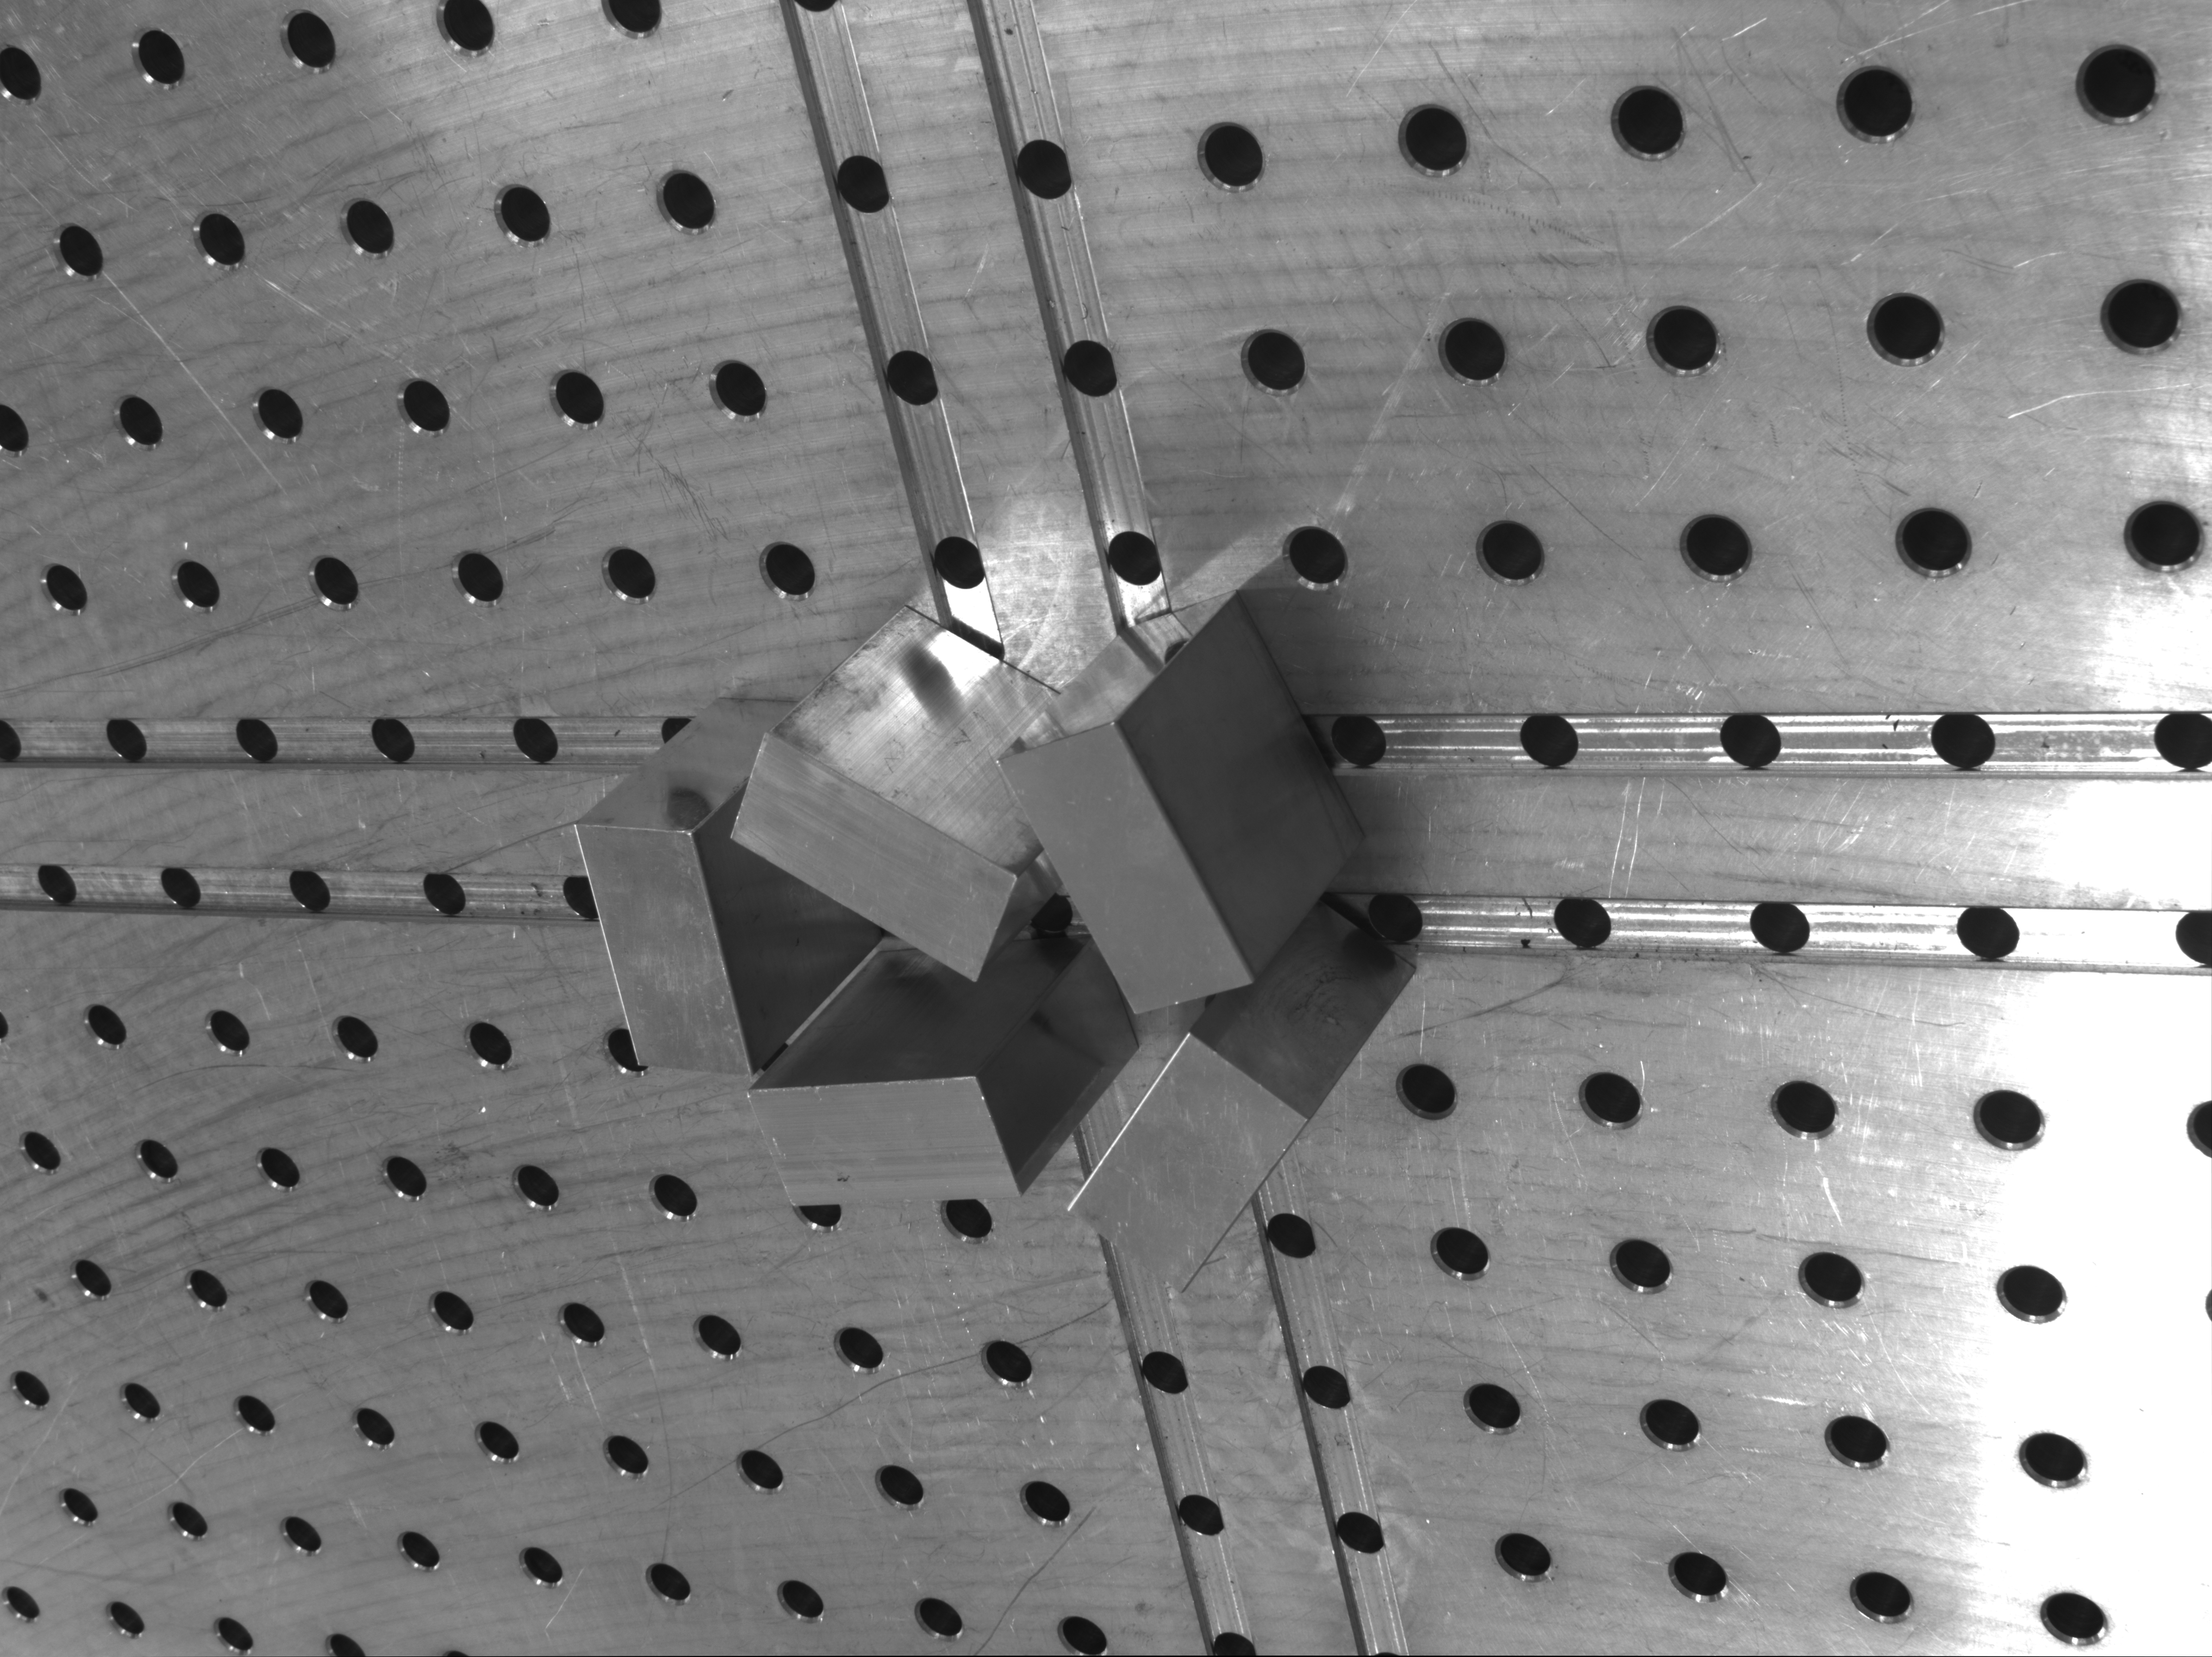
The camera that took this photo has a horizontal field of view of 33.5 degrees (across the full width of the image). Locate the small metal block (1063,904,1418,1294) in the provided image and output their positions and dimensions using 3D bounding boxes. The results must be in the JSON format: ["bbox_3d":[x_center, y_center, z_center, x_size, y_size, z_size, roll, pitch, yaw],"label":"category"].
[{"bbox_3d":[0.024,0.046,0.645,0.025,0.050,0.050,37,129,5],"label":"small metal block"}]

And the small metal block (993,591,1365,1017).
[{"bbox_3d":[0.013,-0.004,0.620,0.025,0.050,0.050,-17,108,35],"label":"small metal block"}]

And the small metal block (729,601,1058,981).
[{"bbox_3d":[-0.029,-0.007,0.641,0.050,0.050,0.025,29,129,9],"label":"small metal block"}]

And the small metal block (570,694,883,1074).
[{"bbox_3d":[-0.068,0.010,0.673,0.025,0.050,0.050,3,120,27],"label":"small metal block"}]

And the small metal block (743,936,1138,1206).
[{"bbox_3d":[-0.030,0.044,0.673,0.050,0.050,0.025,-5,115,31],"label":"small metal block"}]
